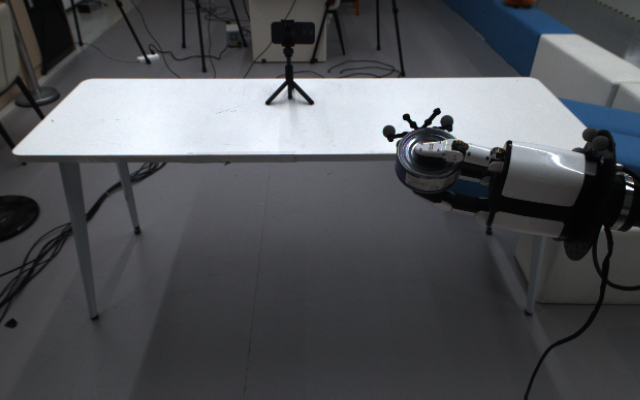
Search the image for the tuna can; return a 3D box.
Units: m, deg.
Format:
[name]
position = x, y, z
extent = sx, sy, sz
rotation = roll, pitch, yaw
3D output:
[tuna can]
position = 0.144, -0.055, 0.631
extent = 0.085, 0.034, 0.085
rotation = -3, 59, 5
